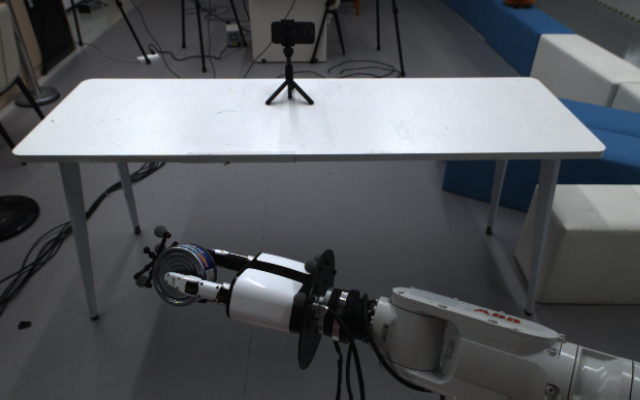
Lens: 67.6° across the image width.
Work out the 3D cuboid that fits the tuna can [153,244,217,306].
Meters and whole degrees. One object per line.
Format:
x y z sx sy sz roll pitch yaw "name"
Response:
-0.189 0.105 0.680 0.085 0.085 0.034 12 5 14 "tuna can"
